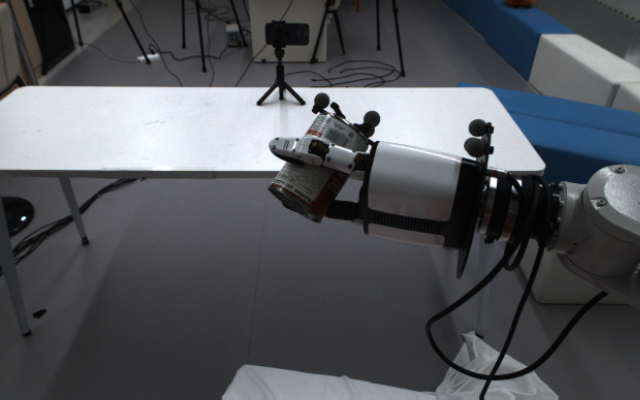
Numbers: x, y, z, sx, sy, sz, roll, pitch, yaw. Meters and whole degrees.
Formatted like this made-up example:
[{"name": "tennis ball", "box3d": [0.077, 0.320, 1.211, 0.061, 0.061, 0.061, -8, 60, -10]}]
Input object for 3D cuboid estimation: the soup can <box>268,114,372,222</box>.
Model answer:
[{"name": "soup can", "box3d": [0.000, -0.036, 0.527, 0.067, 0.067, 0.101, 27, 78, 31]}]
